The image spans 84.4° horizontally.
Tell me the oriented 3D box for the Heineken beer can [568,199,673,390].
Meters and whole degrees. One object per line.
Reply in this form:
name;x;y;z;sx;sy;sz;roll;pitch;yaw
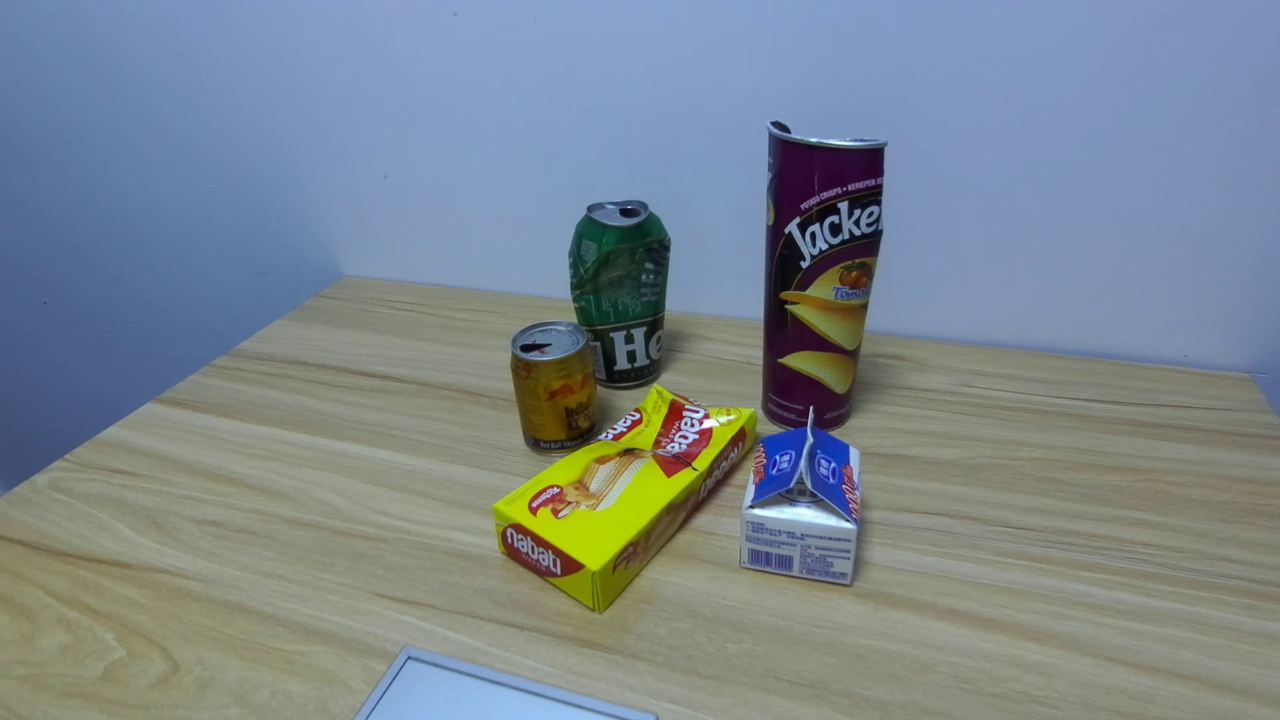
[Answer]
Heineken beer can;-0.018;-0.056;0.625;0.077;0.164;0.066;12;36;20

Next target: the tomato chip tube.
tomato chip tube;0.137;-0.058;0.549;0.076;0.235;0.077;-3;30;2

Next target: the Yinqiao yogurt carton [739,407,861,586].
Yinqiao yogurt carton;0.107;0.083;0.458;0.073;0.092;0.075;5;32;16

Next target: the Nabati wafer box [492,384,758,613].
Nabati wafer box;-0.004;0.083;0.523;0.106;0.042;0.205;21;39;32

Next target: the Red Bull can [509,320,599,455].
Red Bull can;-0.069;0.023;0.578;0.067;0.093;0.067;-2;31;2
